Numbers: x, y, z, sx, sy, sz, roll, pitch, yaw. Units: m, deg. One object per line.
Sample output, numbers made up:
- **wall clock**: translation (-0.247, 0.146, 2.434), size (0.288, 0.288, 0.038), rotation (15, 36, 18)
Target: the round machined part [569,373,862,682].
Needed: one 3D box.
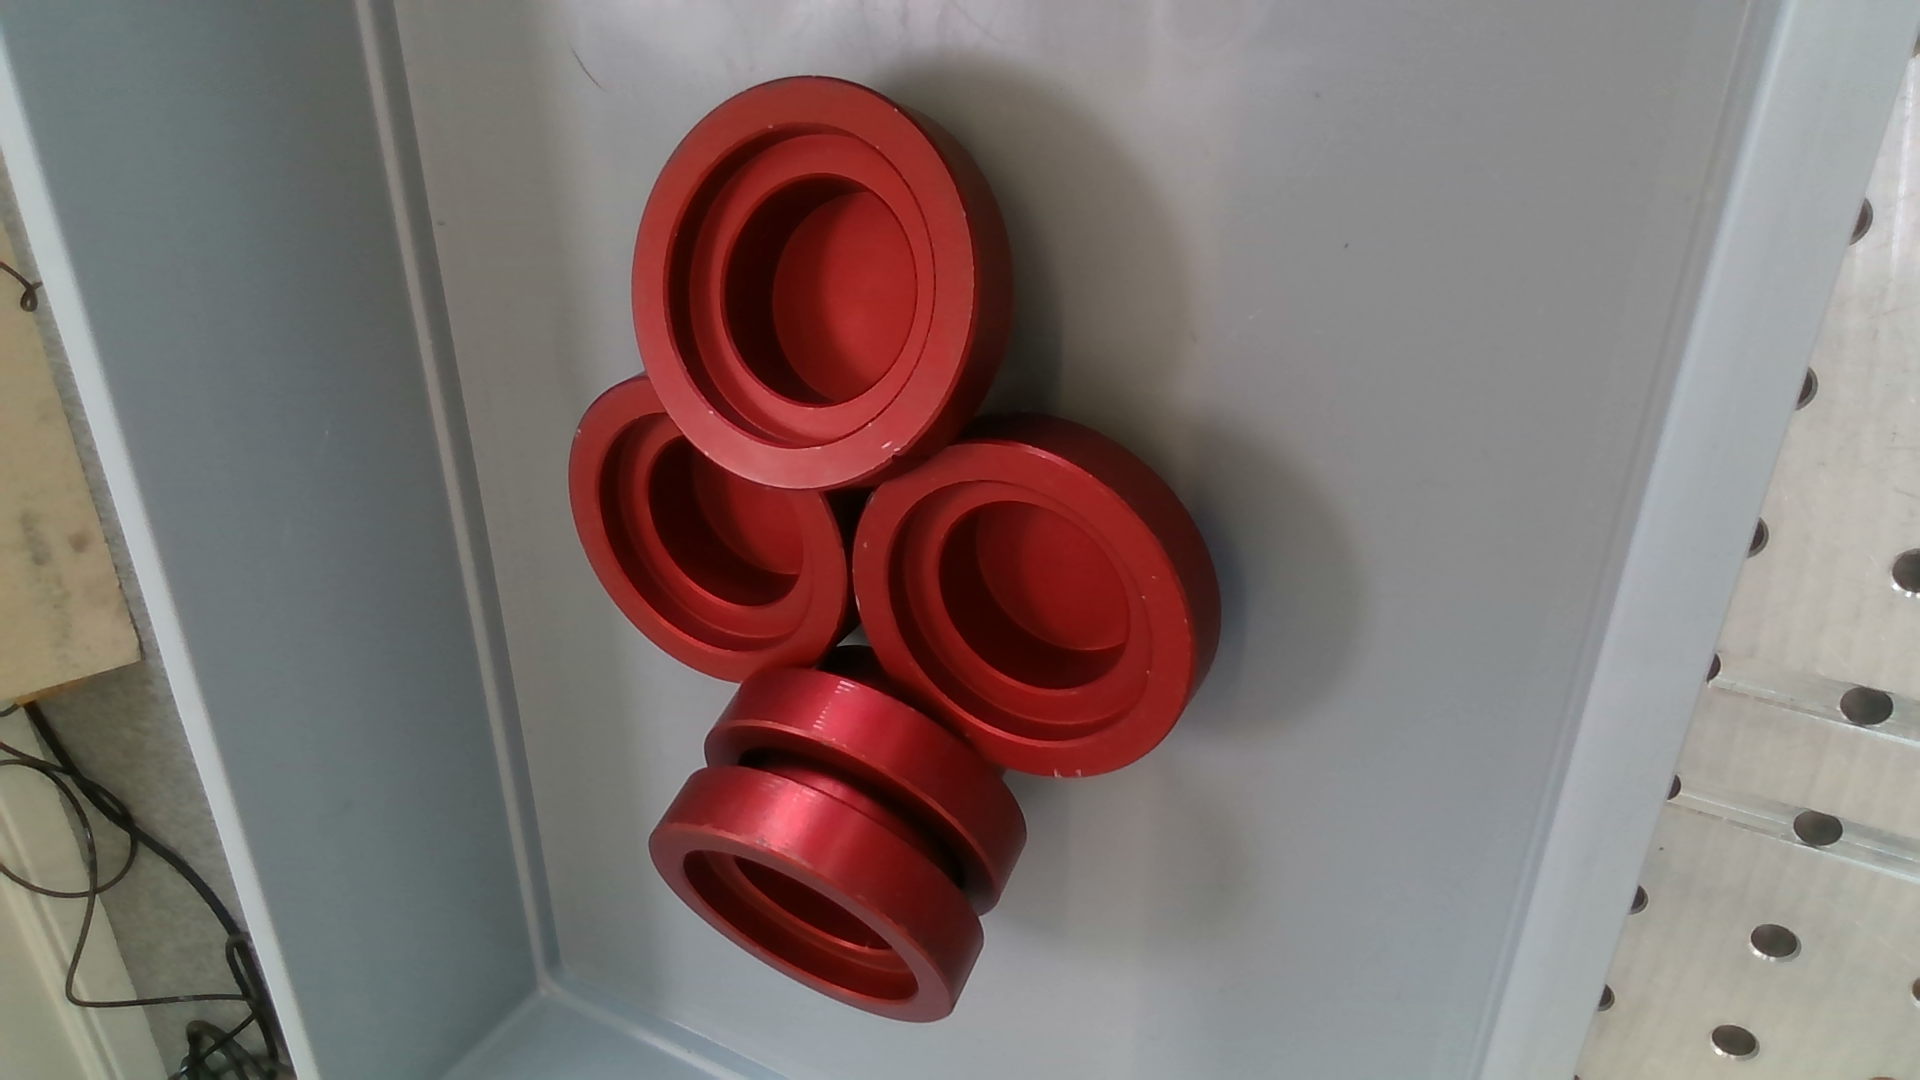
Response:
- **round machined part**: translation (-0.065, -0.010, 0.410), size (0.098, 0.042, 0.098), rotation (15, 122, 25)

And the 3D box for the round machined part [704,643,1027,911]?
- **round machined part**: translation (-0.024, 0.069, 0.415), size (0.098, 0.042, 0.098), rotation (21, 146, 15)

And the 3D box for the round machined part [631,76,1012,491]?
- **round machined part**: translation (-0.031, -0.062, 0.348), size (0.098, 0.042, 0.098), rotation (3, 96, 26)

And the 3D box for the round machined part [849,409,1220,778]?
- **round machined part**: translation (0.023, 0.011, 0.368), size (0.098, 0.042, 0.098), rotation (15, 122, 25)

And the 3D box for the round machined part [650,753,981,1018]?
- **round machined part**: translation (-0.037, 0.094, 0.401), size (0.098, 0.042, 0.098), rotation (21, 146, 15)
